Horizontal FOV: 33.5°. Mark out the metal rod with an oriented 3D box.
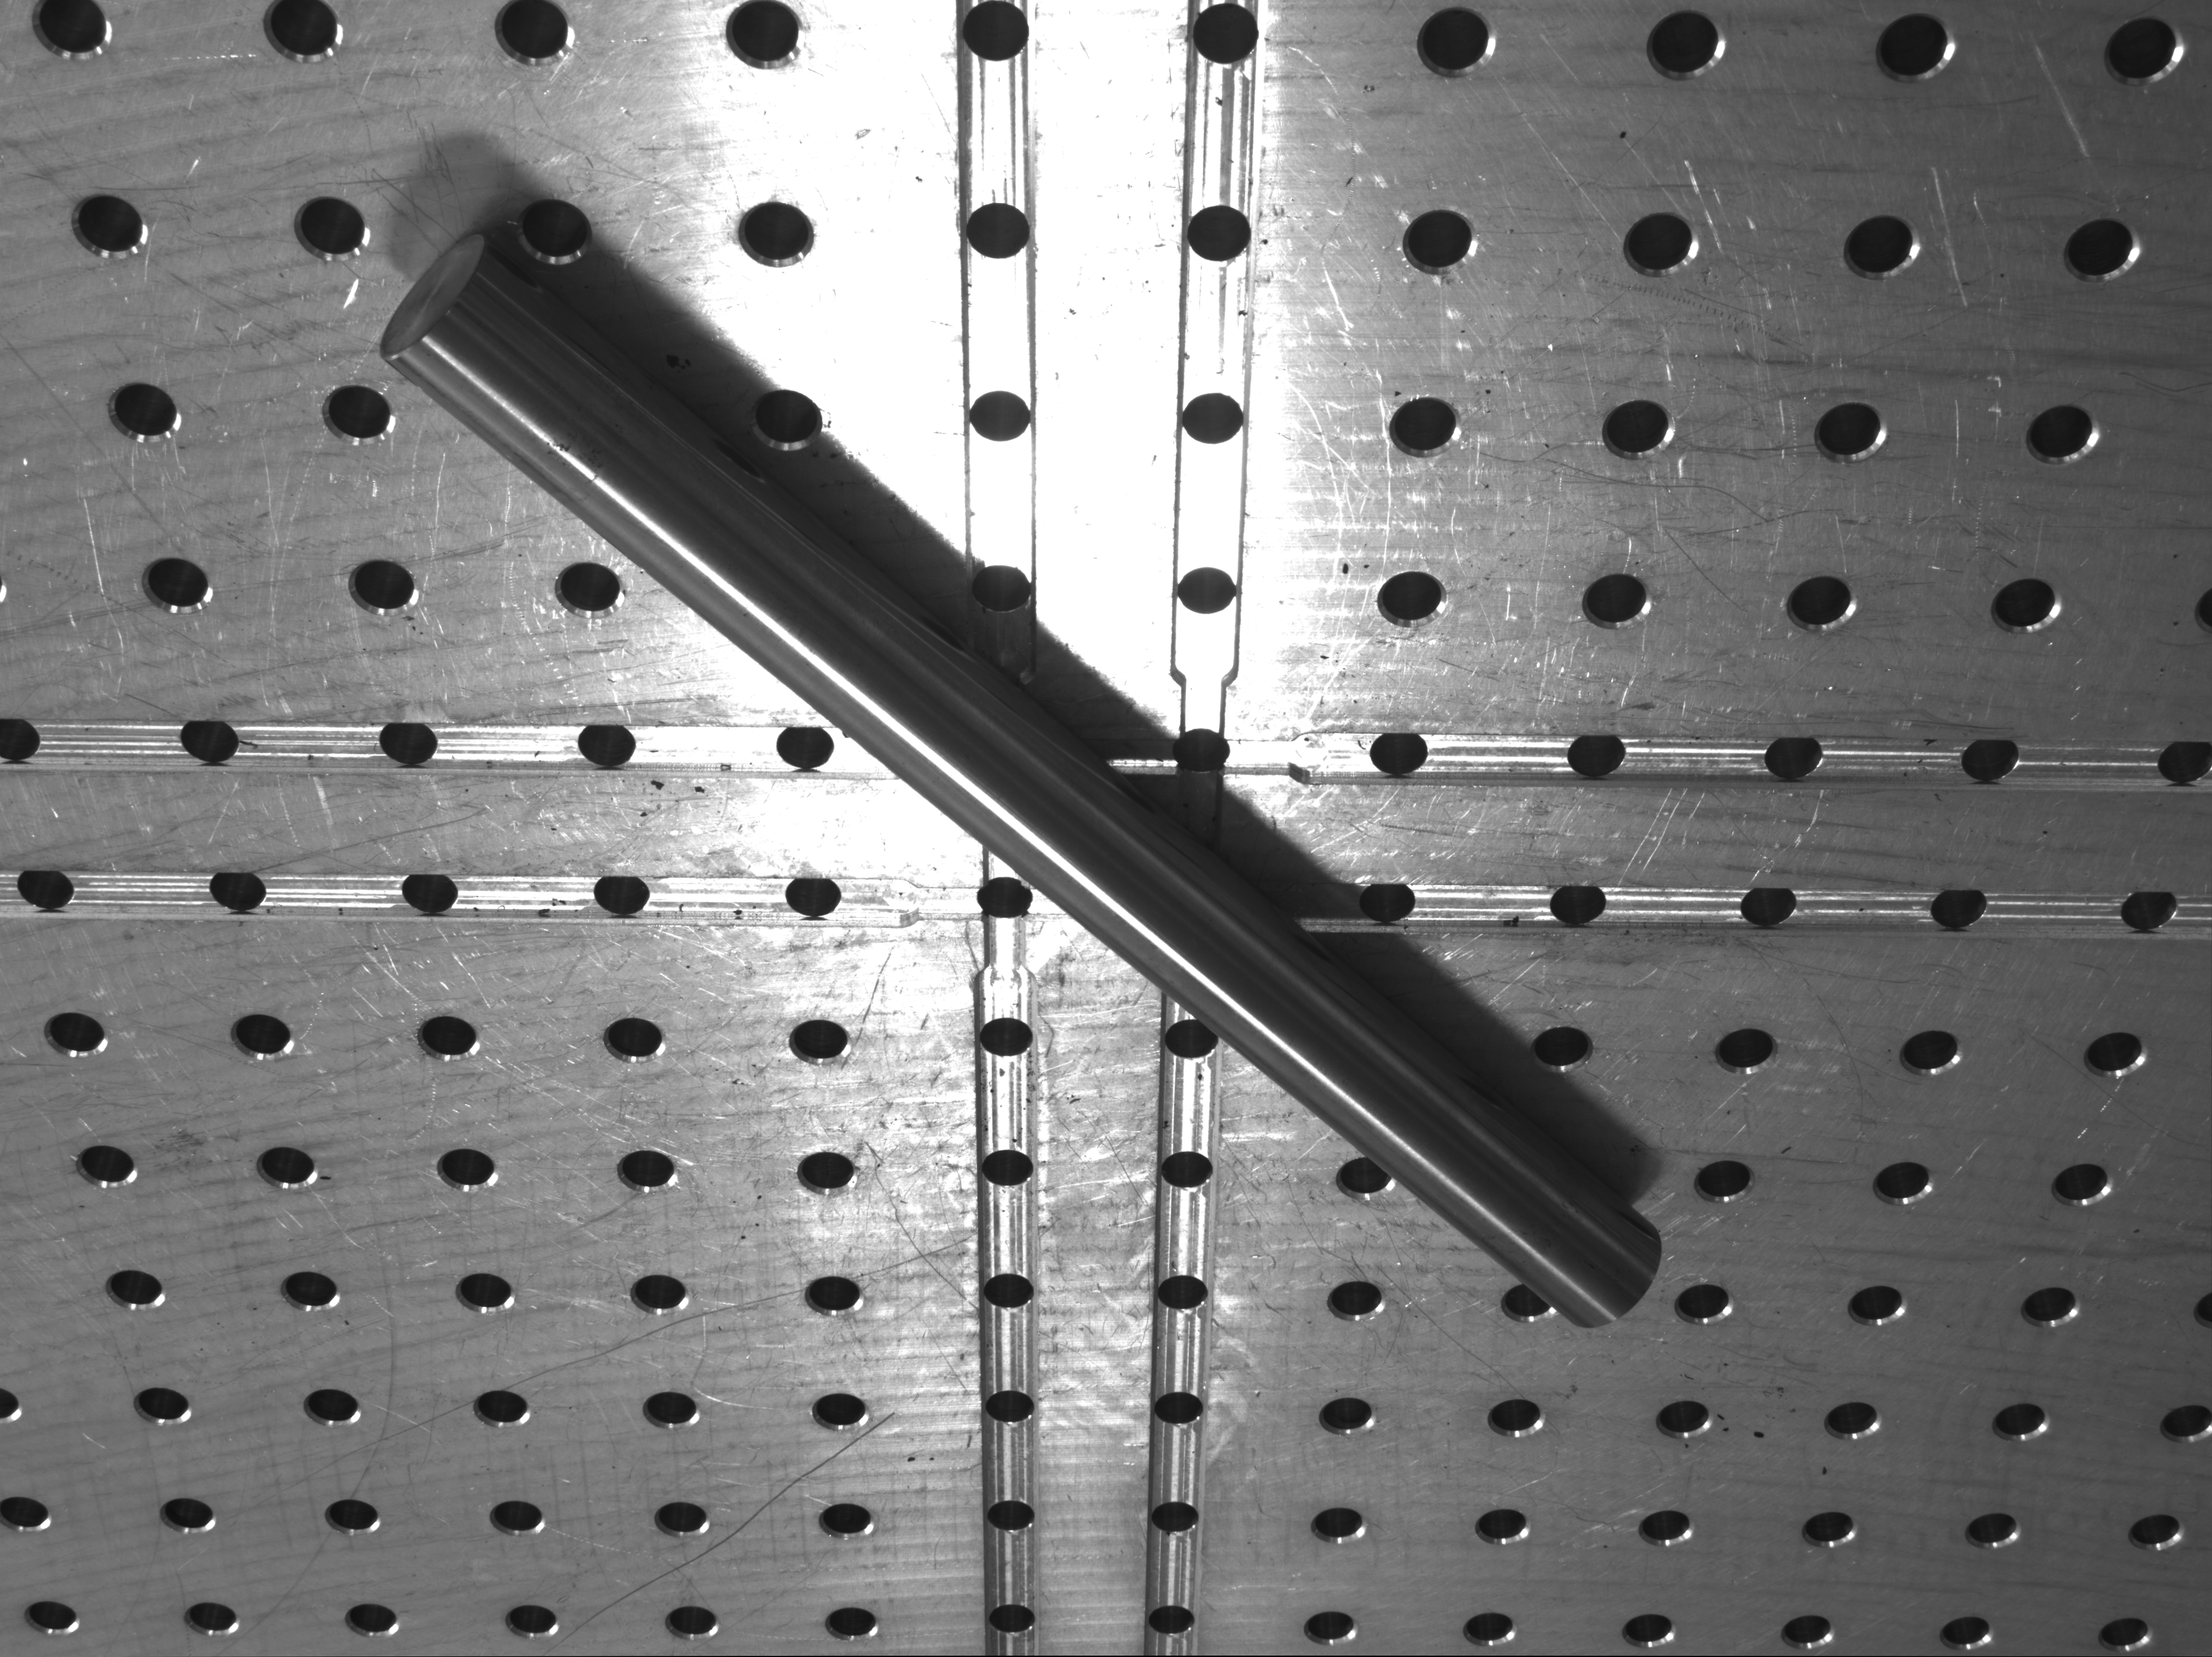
[{"bbox_3d":[-0.004,0.001,0.644,0.025,0.025,0.301,-35,122,26],"label":"metal rod"}]
